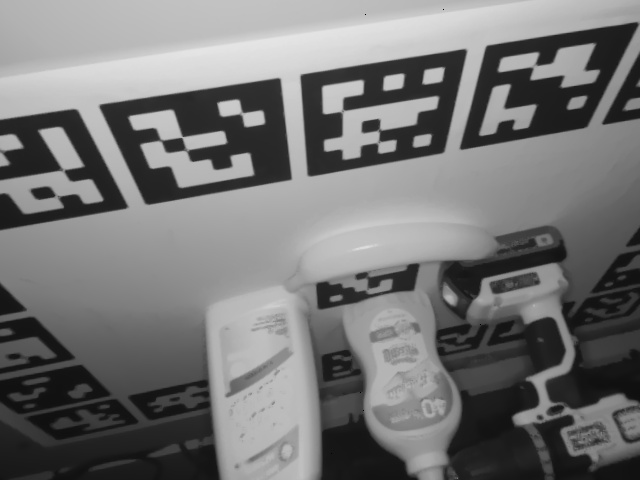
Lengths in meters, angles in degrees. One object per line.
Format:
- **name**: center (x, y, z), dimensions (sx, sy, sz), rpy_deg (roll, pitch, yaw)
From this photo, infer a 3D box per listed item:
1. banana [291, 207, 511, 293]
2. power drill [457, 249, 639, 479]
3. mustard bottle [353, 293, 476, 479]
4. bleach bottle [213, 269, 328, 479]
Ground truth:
- **banana**: center (0.072, 0.003, 0.587), dimensions (0.199, 0.039, 0.073), rpy_deg (-9, 140, -10)
- **power drill**: center (0.196, 0.107, 0.609), dimensions (0.185, 0.188, 0.057), rpy_deg (-9, 151, -2)
- **mustard bottle**: center (0.094, 0.145, 0.658), dimensions (0.096, 0.192, 0.058), rpy_deg (-8, 144, -5)
- **bleach bottle**: center (-0.032, 0.149, 0.585), dimensions (0.103, 0.252, 0.067), rpy_deg (-14, 143, 2)
